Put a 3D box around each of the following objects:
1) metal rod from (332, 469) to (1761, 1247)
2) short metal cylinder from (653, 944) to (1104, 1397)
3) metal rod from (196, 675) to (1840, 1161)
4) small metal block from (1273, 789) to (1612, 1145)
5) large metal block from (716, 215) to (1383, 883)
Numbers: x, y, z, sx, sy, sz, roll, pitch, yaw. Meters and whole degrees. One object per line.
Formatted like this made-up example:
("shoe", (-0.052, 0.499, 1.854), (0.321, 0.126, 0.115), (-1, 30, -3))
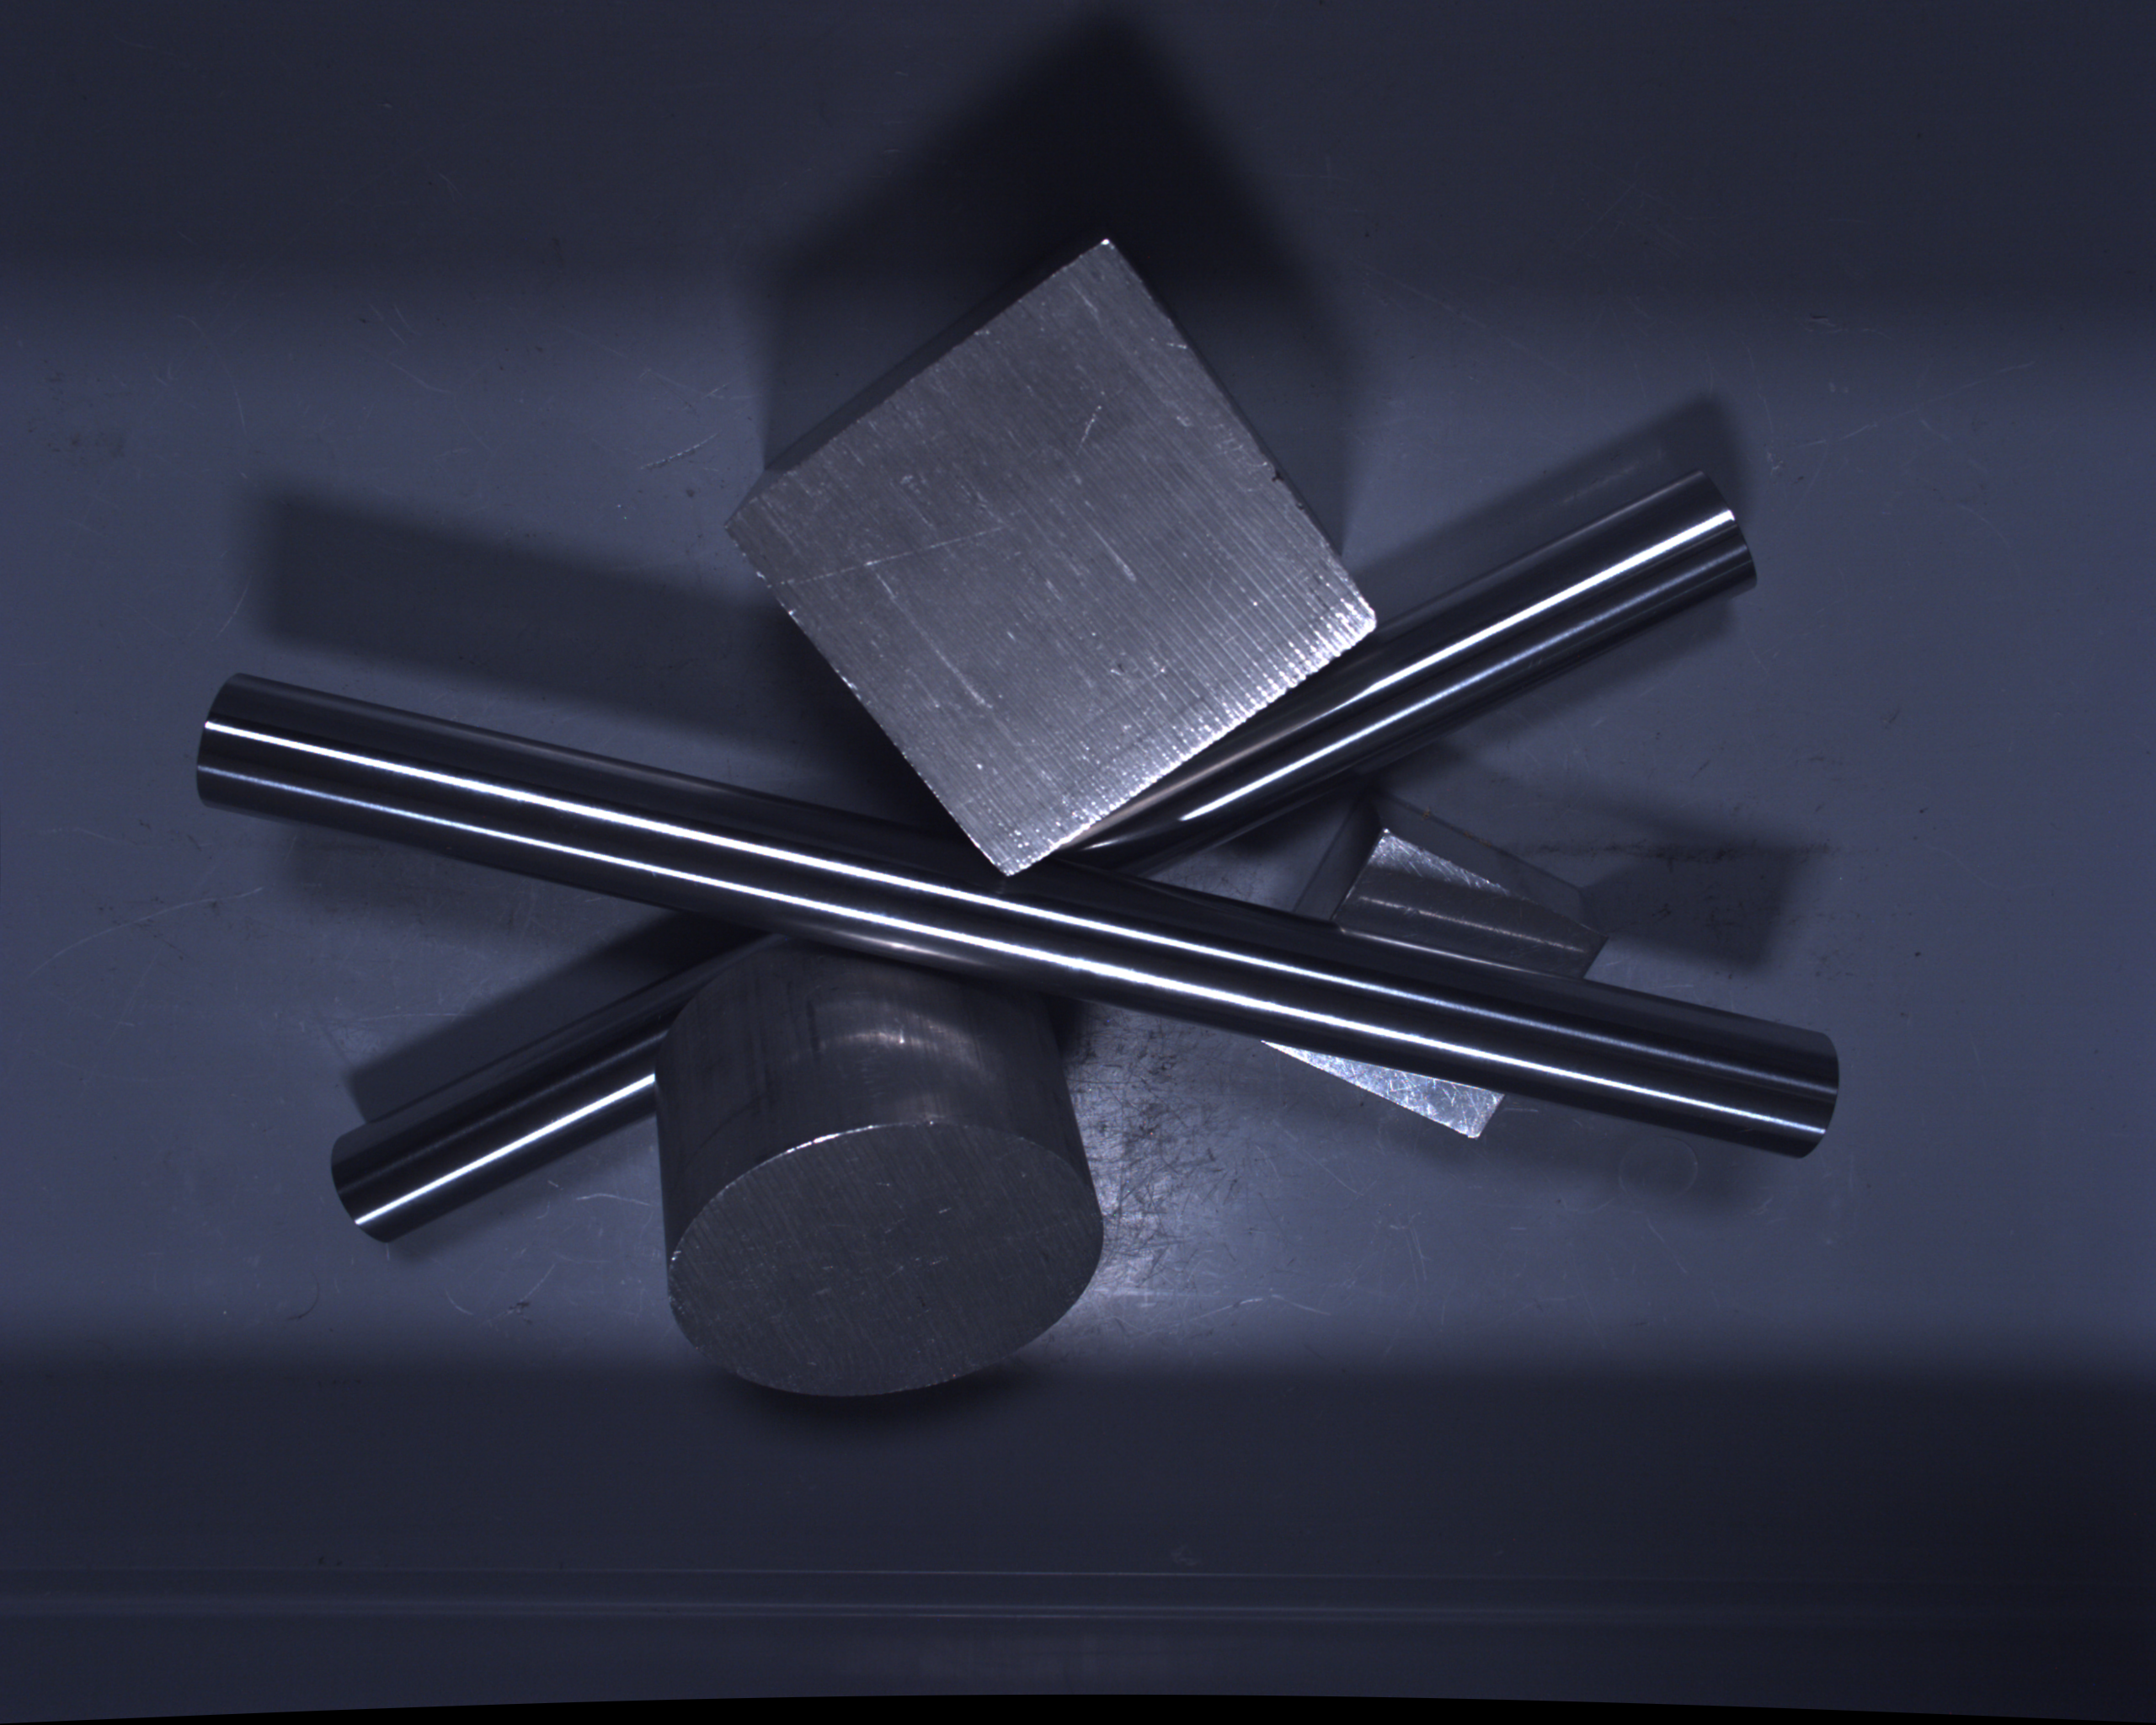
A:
("metal rod", (-0.013, 0.003, 0.410), (0.301, 0.025, 0.025), (-26, 108, 8))
("short metal cylinder", (-0.040, 0.058, 0.402), (0.081, 0.050, 0.079), (-8, 133, -9))
("metal rod", (-0.006, 0.012, 0.387), (0.302, 0.025, 0.025), (13, 110, -5))
("small metal block", (0.069, 0.021, 0.417), (0.050, 0.025, 0.050), (25, 108, -10))
("large metal block", (-0.004, -0.057, 0.375), (0.080, 0.050, 0.080), (-34, 107, 11))
